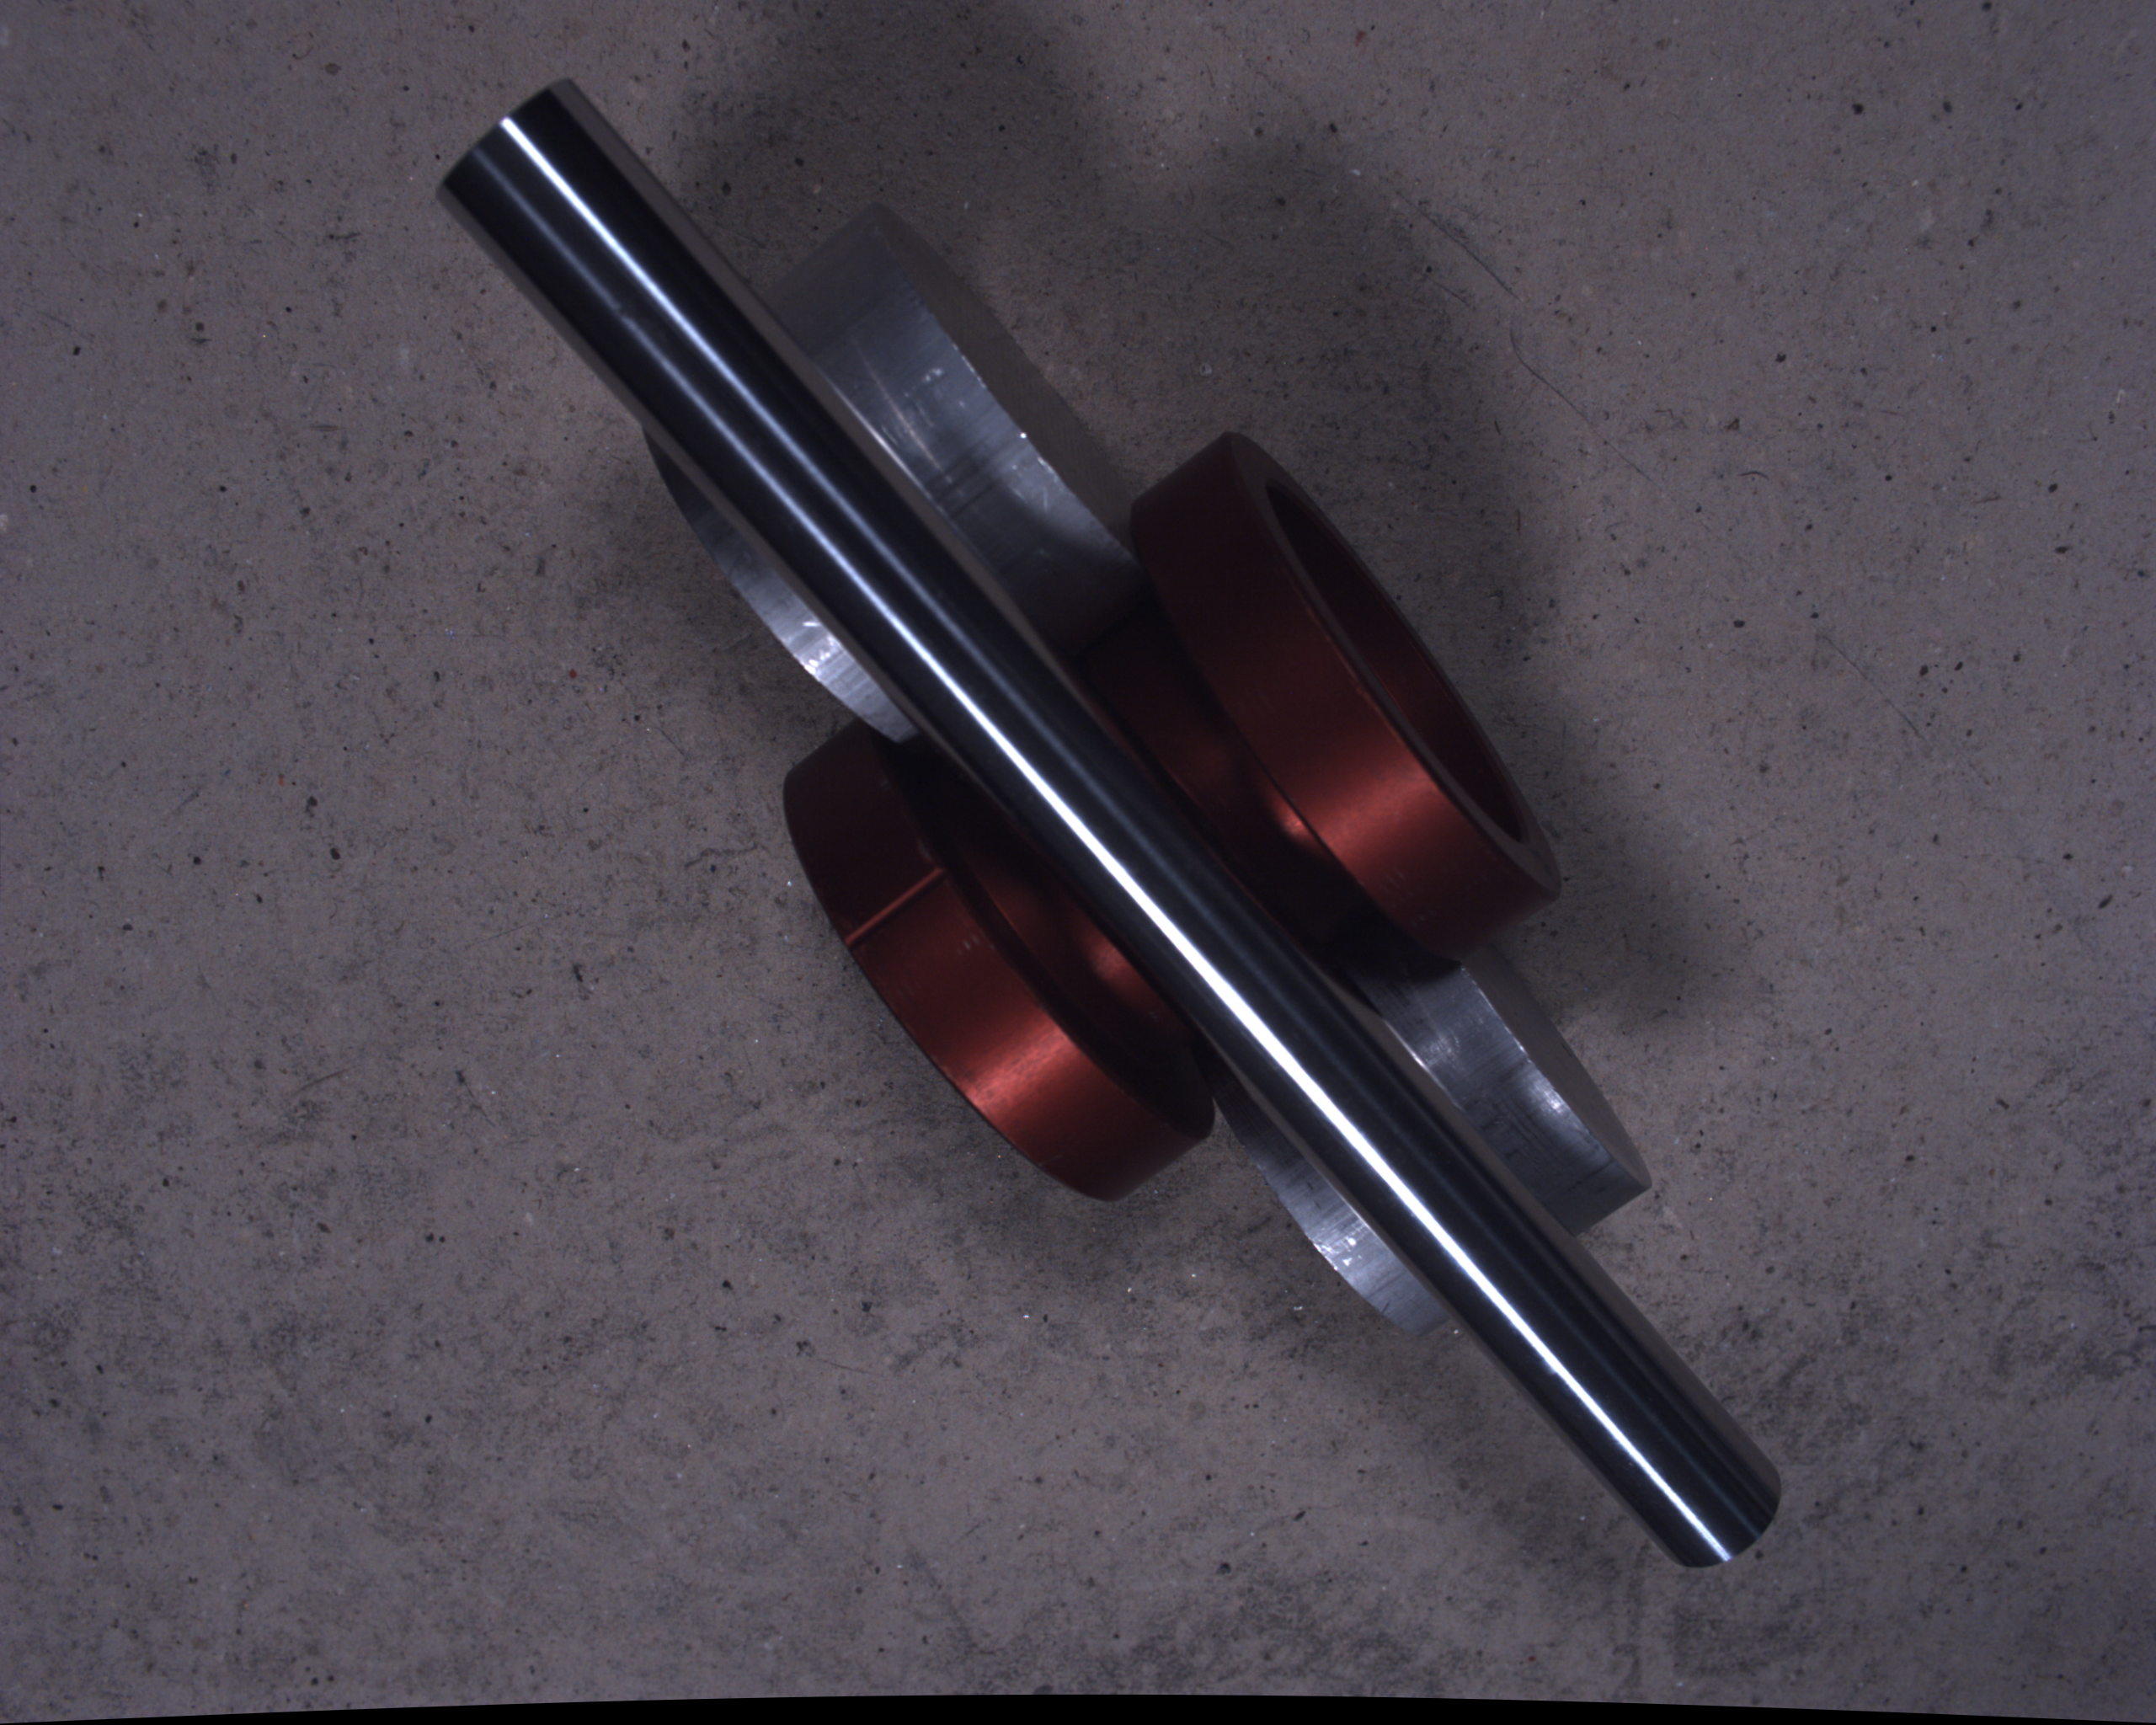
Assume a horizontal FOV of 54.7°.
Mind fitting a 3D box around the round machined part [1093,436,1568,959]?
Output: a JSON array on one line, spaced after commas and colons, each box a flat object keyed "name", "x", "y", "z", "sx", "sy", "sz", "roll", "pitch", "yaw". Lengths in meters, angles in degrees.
[{"name": "round machined part", "x": 0.040, "y": -0.023, "z": 0.364, "sx": 0.042, "sy": 0.098, "sz": 0.098, "roll": -36, "pitch": 107, "yaw": 17}]

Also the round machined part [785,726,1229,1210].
[{"name": "round machined part", "x": -0.004, "y": 0.011, "z": 0.375, "sx": 0.042, "sy": 0.098, "sz": 0.098, "roll": -39, "pitch": 106, "yaw": 9}]

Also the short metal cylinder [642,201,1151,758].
[{"name": "short metal cylinder", "x": -0.028, "y": -0.065, "z": 0.357, "sx": 0.050, "sy": 0.080, "sz": 0.080, "roll": -37, "pitch": 106, "yaw": 12}]

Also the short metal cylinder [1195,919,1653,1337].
[{"name": "short metal cylinder", "x": 0.064, "y": 0.043, "z": 0.398, "sx": 0.050, "sy": 0.080, "sz": 0.080, "roll": -37, "pitch": 106, "yaw": 12}]

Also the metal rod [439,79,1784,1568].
[{"name": "metal rod", "x": 0.018, "y": 0.007, "z": 0.329, "sx": 0.025, "sy": 0.025, "sz": 0.300, "roll": -38, "pitch": 106, "yaw": 12}]
